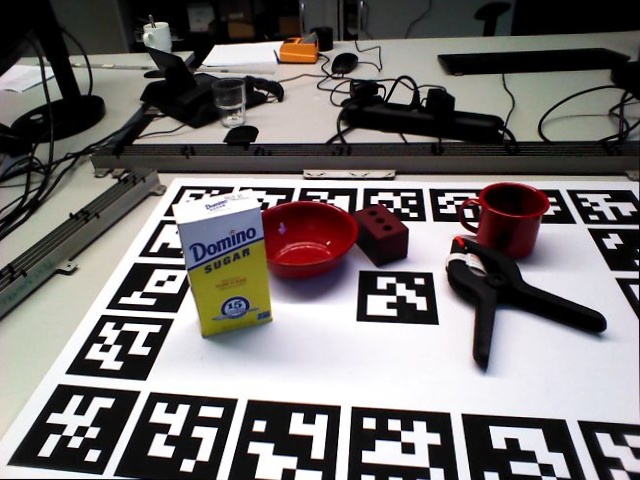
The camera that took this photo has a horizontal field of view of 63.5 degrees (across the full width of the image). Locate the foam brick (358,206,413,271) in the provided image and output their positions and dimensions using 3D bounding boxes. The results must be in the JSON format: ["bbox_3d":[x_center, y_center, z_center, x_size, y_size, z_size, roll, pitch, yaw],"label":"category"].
[{"bbox_3d":[0.094,-0.003,0.747,0.052,0.051,0.078,-17,40,-14],"label":"foam brick"}]

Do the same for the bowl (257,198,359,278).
[{"bbox_3d":[-0.026,0.005,0.735,0.162,0.055,0.161,-2,38,1],"label":"bowl"}]

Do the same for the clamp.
[{"bbox_3d":[0.219,0.059,0.648,0.165,0.037,0.202,-15,40,-10],"label":"clamp"}]

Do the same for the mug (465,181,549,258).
[{"bbox_3d":[0.264,-0.033,0.732,0.118,0.082,0.092,21,44,24],"label":"mug"}]

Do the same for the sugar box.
[{"bbox_3d":[-0.116,0.037,0.603,0.093,0.177,0.045,-13,41,-14],"label":"sugar box"}]
